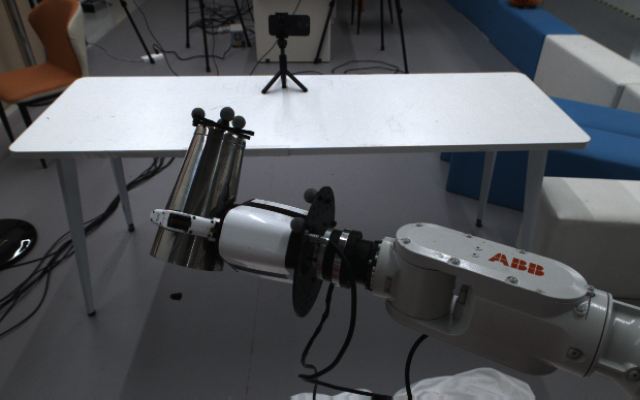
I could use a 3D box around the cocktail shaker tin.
[{"bbox_3d":[-0.148,-0.002,0.617,0.093,0.170,0.093,14,-4,1],"label":"cocktail shaker tin"}]
